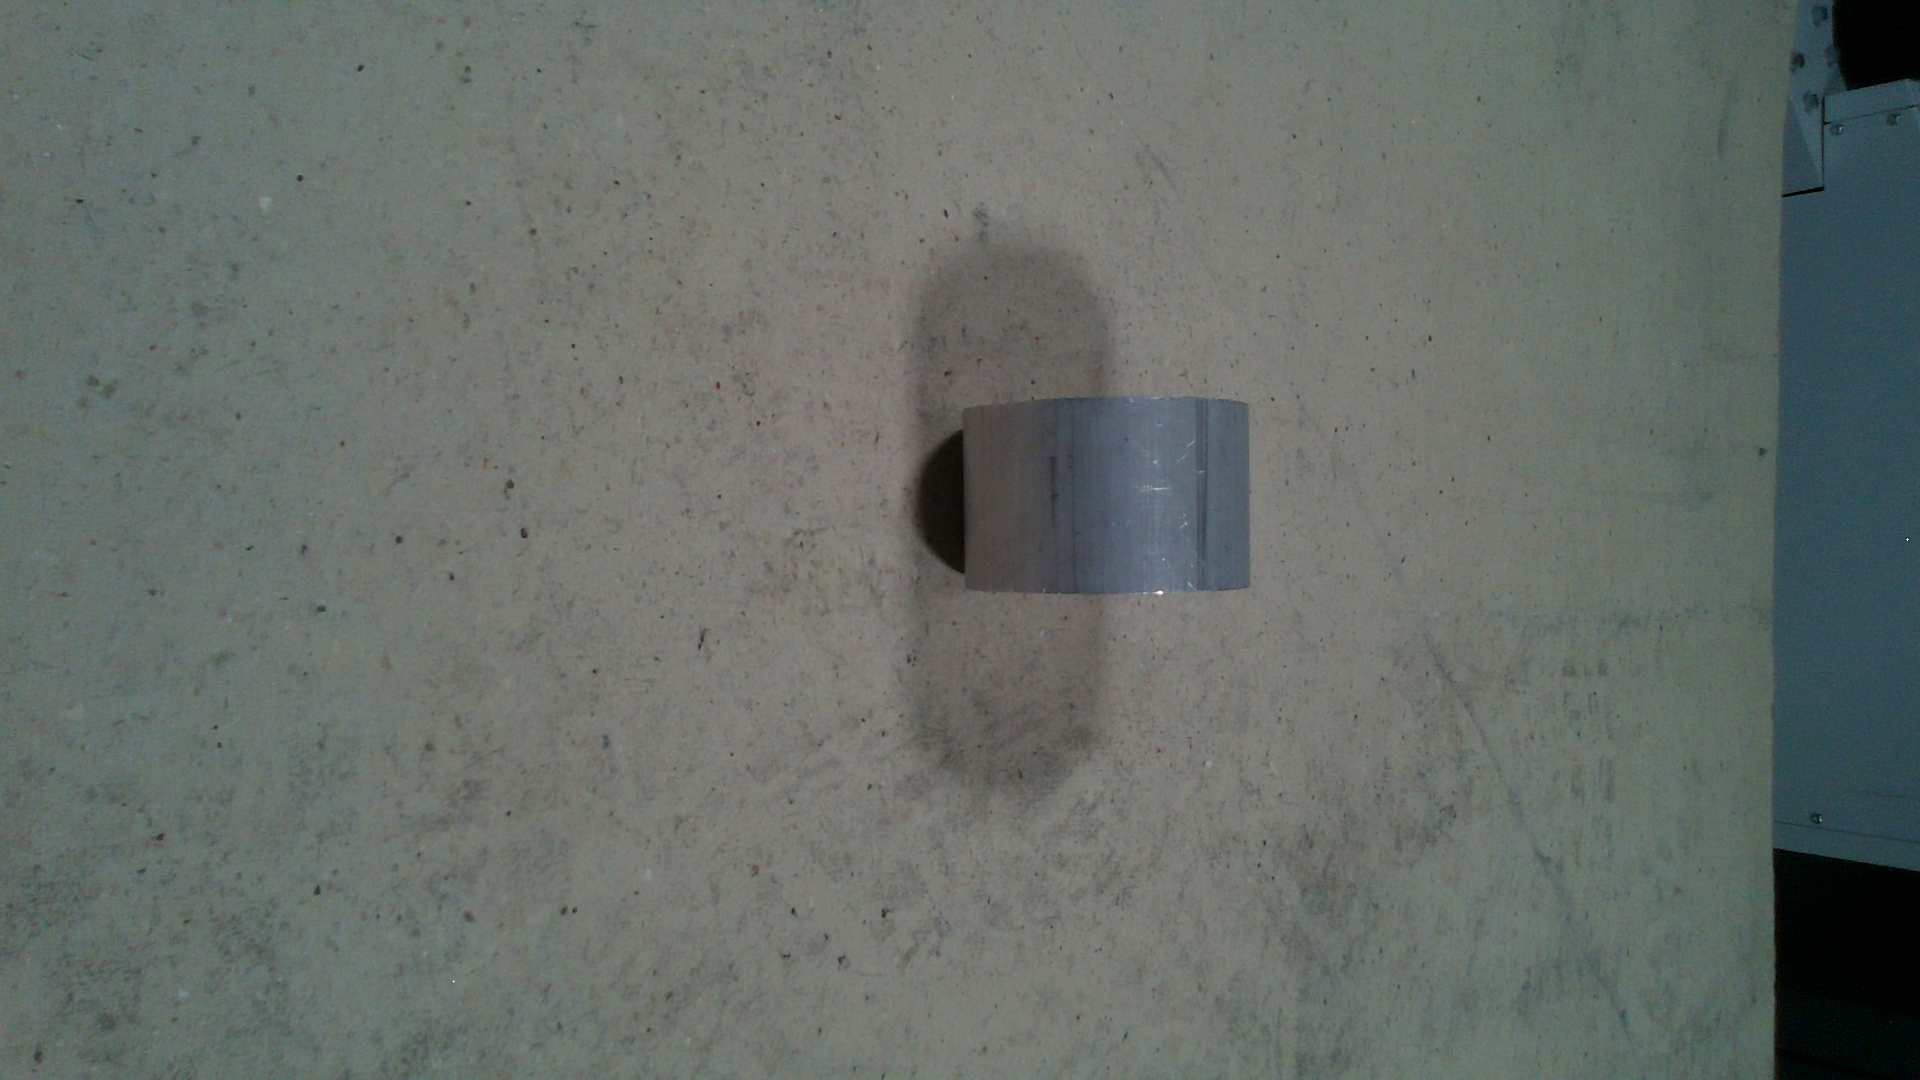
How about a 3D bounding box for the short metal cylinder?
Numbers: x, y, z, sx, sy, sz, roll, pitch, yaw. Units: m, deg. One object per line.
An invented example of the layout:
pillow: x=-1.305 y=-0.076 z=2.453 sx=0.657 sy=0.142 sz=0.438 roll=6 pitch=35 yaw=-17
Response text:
short metal cylinder: x=0.041 y=-0.012 z=0.388 sx=0.080 sy=0.080 sz=0.050 roll=-1 pitch=91 yaw=-40
